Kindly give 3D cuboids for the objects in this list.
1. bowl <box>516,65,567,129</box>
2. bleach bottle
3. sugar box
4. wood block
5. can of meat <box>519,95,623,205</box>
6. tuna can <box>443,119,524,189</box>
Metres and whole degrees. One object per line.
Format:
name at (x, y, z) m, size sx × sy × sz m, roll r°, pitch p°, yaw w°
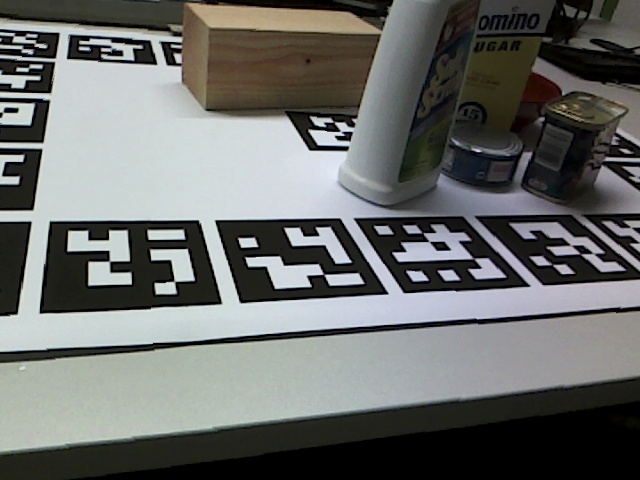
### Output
bowl at (0.211, -0.177, 0.756) m, size 0.161 × 0.055 × 0.162 m, roll 4°, pitch 33°, yaw -3°
bleach bottle at (0.084, -0.157, 0.509) m, size 0.102 × 0.250 × 0.068 m, roll -21°, pitch 43°, yaw -39°
sugar box at (0.169, -0.180, 0.633) m, size 0.093 × 0.176 × 0.045 m, roll 7°, pitch 34°, yaw 1°
wood block at (-0.044, -0.205, 0.703) m, size 0.205 × 0.090 × 0.091 m, roll -7°, pitch 41°, yaw -27°
can of meat at (0.246, -0.090, 0.613) m, size 0.058 × 0.083 × 0.101 m, roll 29°, pitch 35°, yaw 32°
tuna can at (0.155, -0.087, 0.616) m, size 0.085 × 0.033 × 0.086 m, roll 7°, pitch 36°, yaw -5°
